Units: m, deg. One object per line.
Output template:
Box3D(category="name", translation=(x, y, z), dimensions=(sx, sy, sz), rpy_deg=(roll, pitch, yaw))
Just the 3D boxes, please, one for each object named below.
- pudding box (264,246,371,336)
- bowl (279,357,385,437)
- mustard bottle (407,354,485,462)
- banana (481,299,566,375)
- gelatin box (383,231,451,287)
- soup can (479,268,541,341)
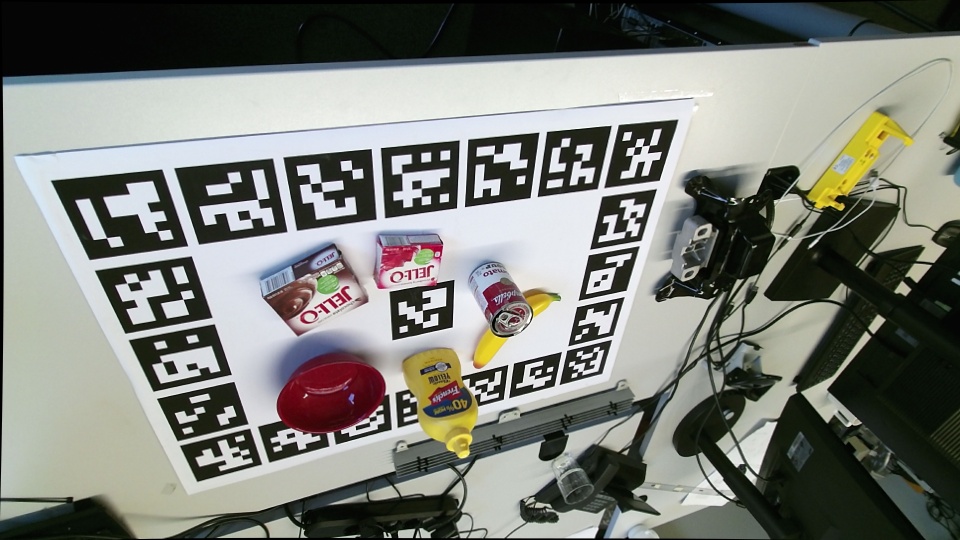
Box3D(category="pudding box", translation=(-0.217, 0.032, 0.726), dimensions=(0.114, 0.038, 0.090), rpy_deg=(-29, 127, -3))
Box3D(category="bowl", translation=(-0.234, 0.187, 0.833), dimensions=(0.162, 0.055, 0.162), rpy_deg=(-14, 131, -17))
Box3D(category="mustard bottle", translation=(-0.046, 0.220, 0.838), dimensions=(0.096, 0.190, 0.058), rpy_deg=(-10, 132, -19))
Box3D(category="banana", translation=(0.063, 0.112, 0.925), dimensions=(0.197, 0.038, 0.074), rpy_deg=(-46, 141, 13))
Box3D(category="gelatin box", translation=(-0.089, -0.016, 0.756), dimensions=(0.090, 0.030, 0.073), rpy_deg=(-5, 124, -24))
Box3D(category="soup can", translation=(0.046, 0.053, 0.815), dimensions=(0.068, 0.101, 0.068), rpy_deg=(-12, 131, -14))
